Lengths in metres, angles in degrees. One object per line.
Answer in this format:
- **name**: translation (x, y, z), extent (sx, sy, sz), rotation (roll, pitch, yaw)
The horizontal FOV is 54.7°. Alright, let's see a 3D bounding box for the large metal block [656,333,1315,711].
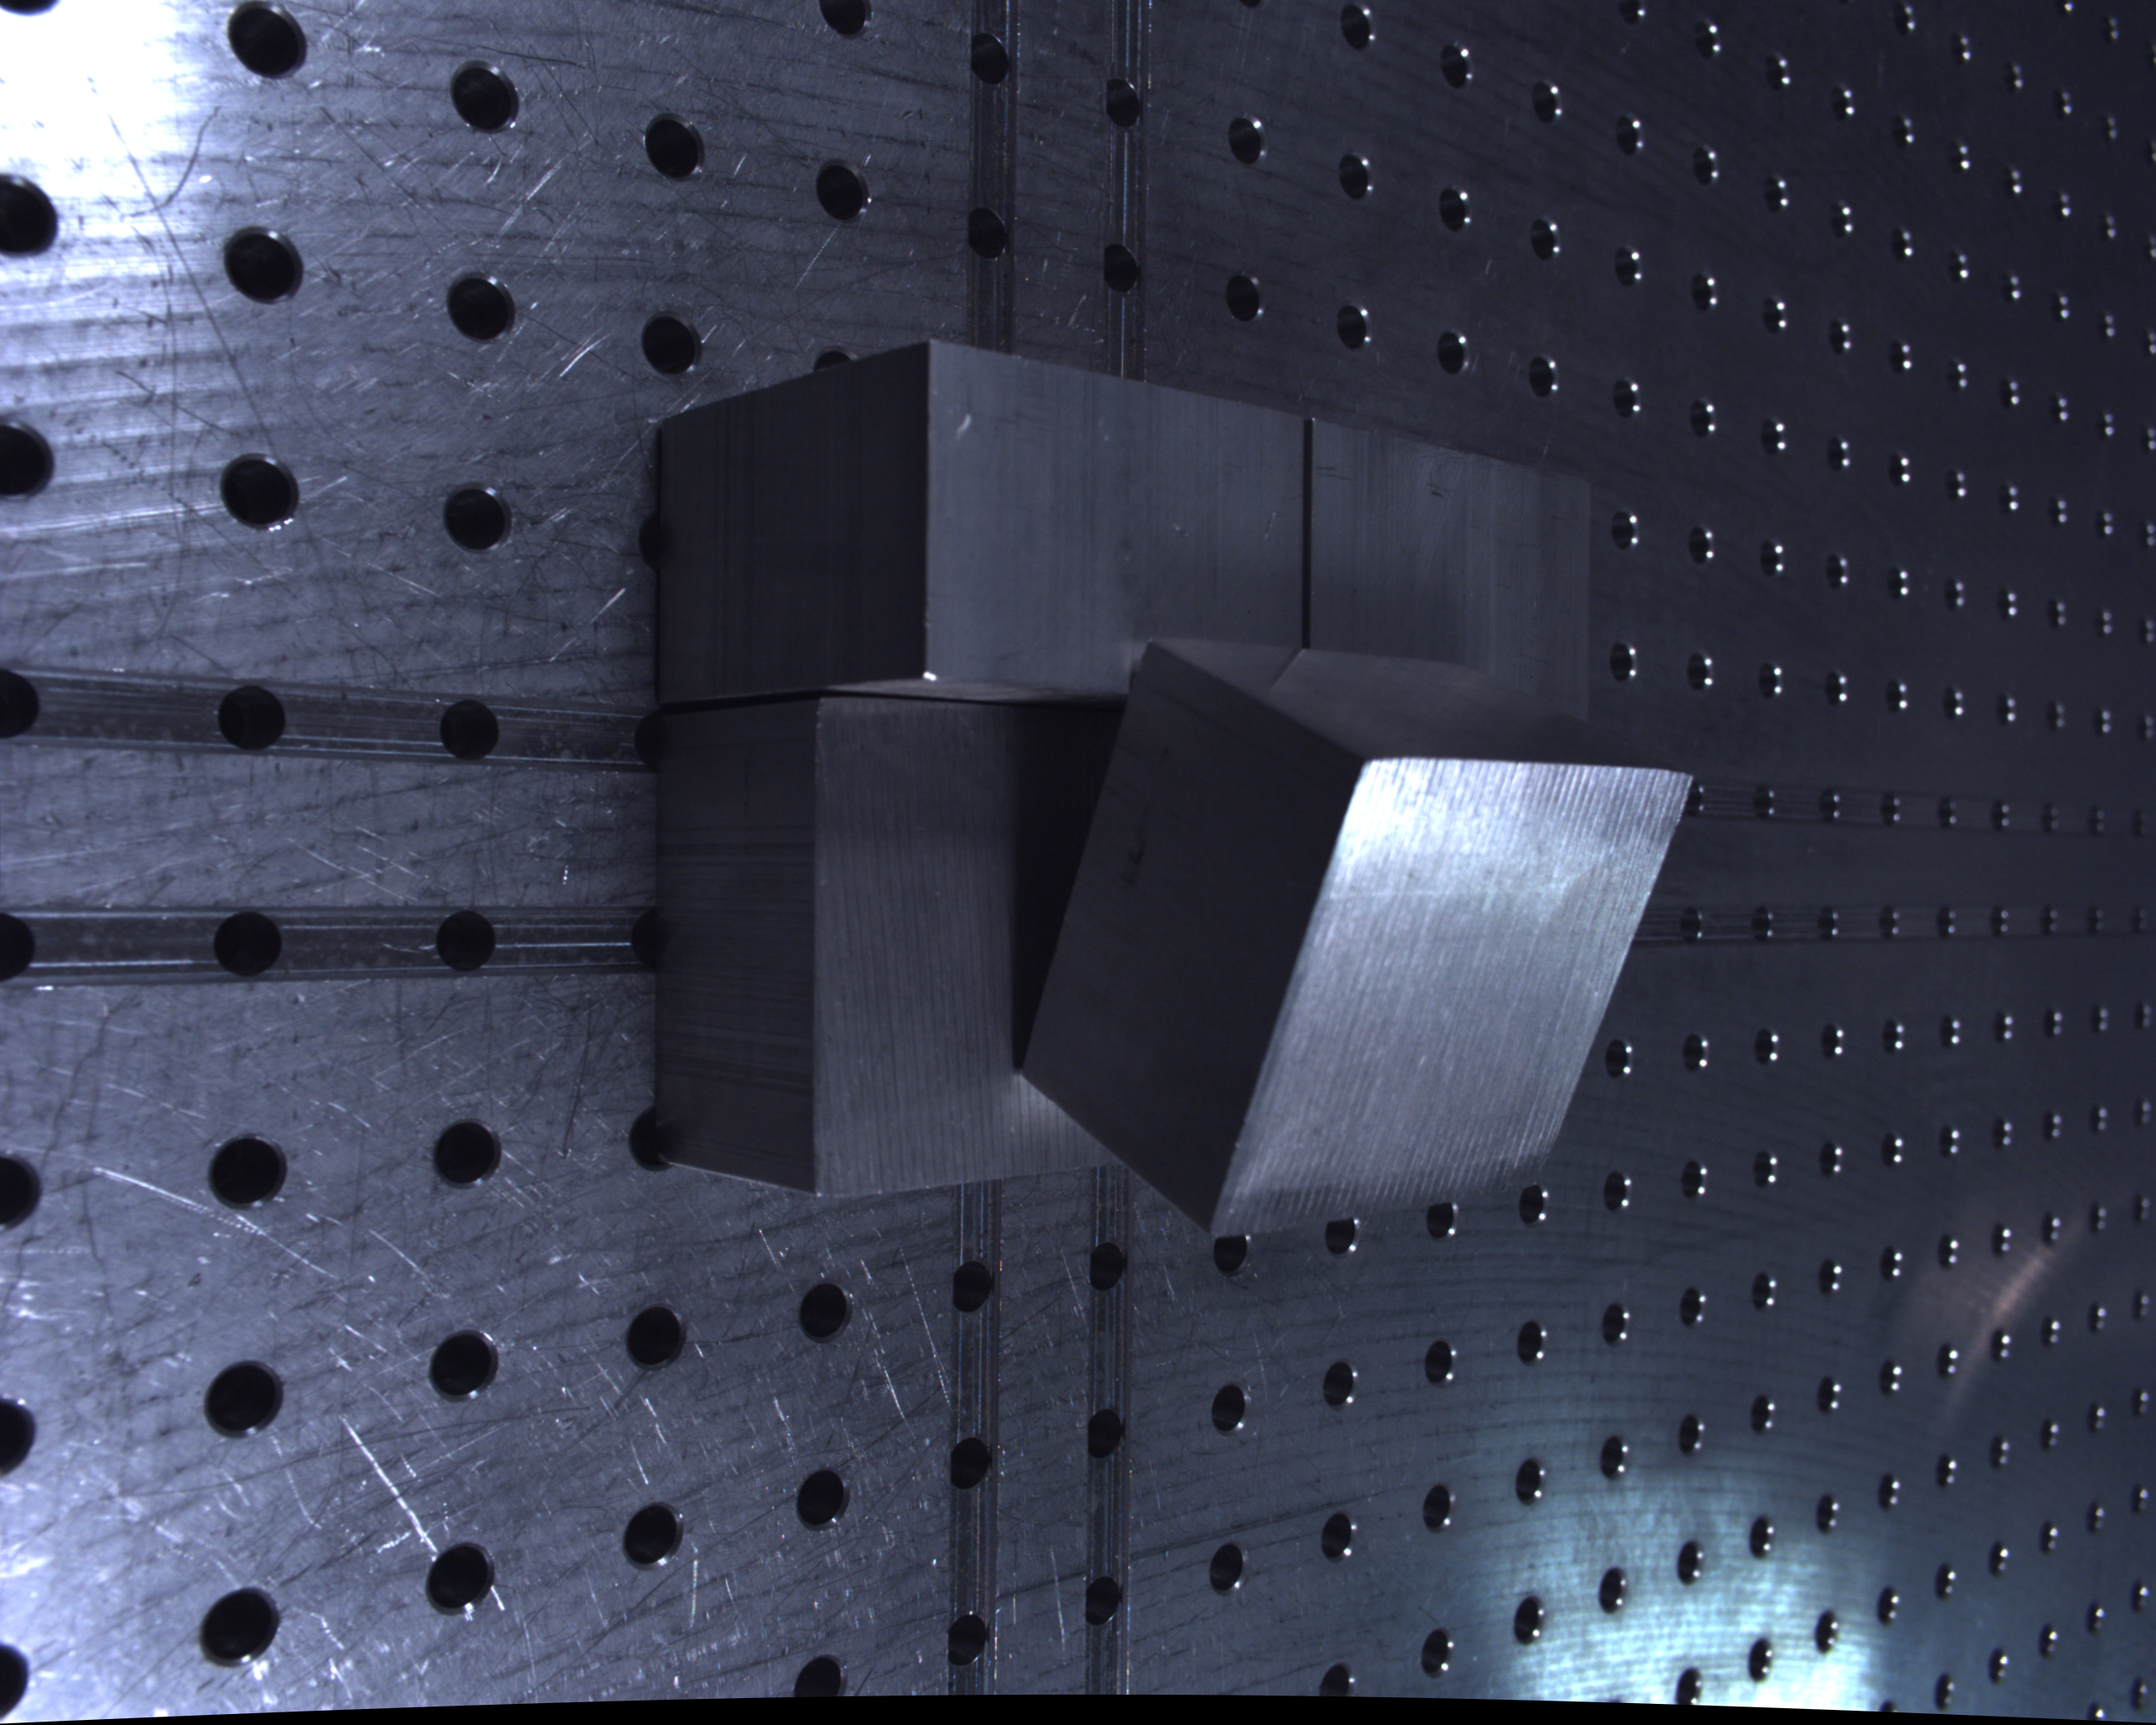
- **large metal block**: translation (-0.017, -0.052, 0.360), extent (0.081, 0.080, 0.050), rotation (1, 90, -40)

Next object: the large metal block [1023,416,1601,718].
- **large metal block**: translation (0.045, -0.051, 0.412), extent (0.081, 0.080, 0.050), rotation (1, 90, -40)

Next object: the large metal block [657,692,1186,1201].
- **large metal block**: translation (-0.026, 0.013, 0.371), extent (0.081, 0.050, 0.079), rotation (1, 90, -40)

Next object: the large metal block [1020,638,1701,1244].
- **large metal block**: translation (0.046, 0.011, 0.347), extent (0.081, 0.050, 0.079), rotation (0, 114, -40)

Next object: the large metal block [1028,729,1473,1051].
- **large metal block**: translation (0.037, 0.014, 0.423), extent (0.081, 0.050, 0.079), rotation (1, 90, -40)
